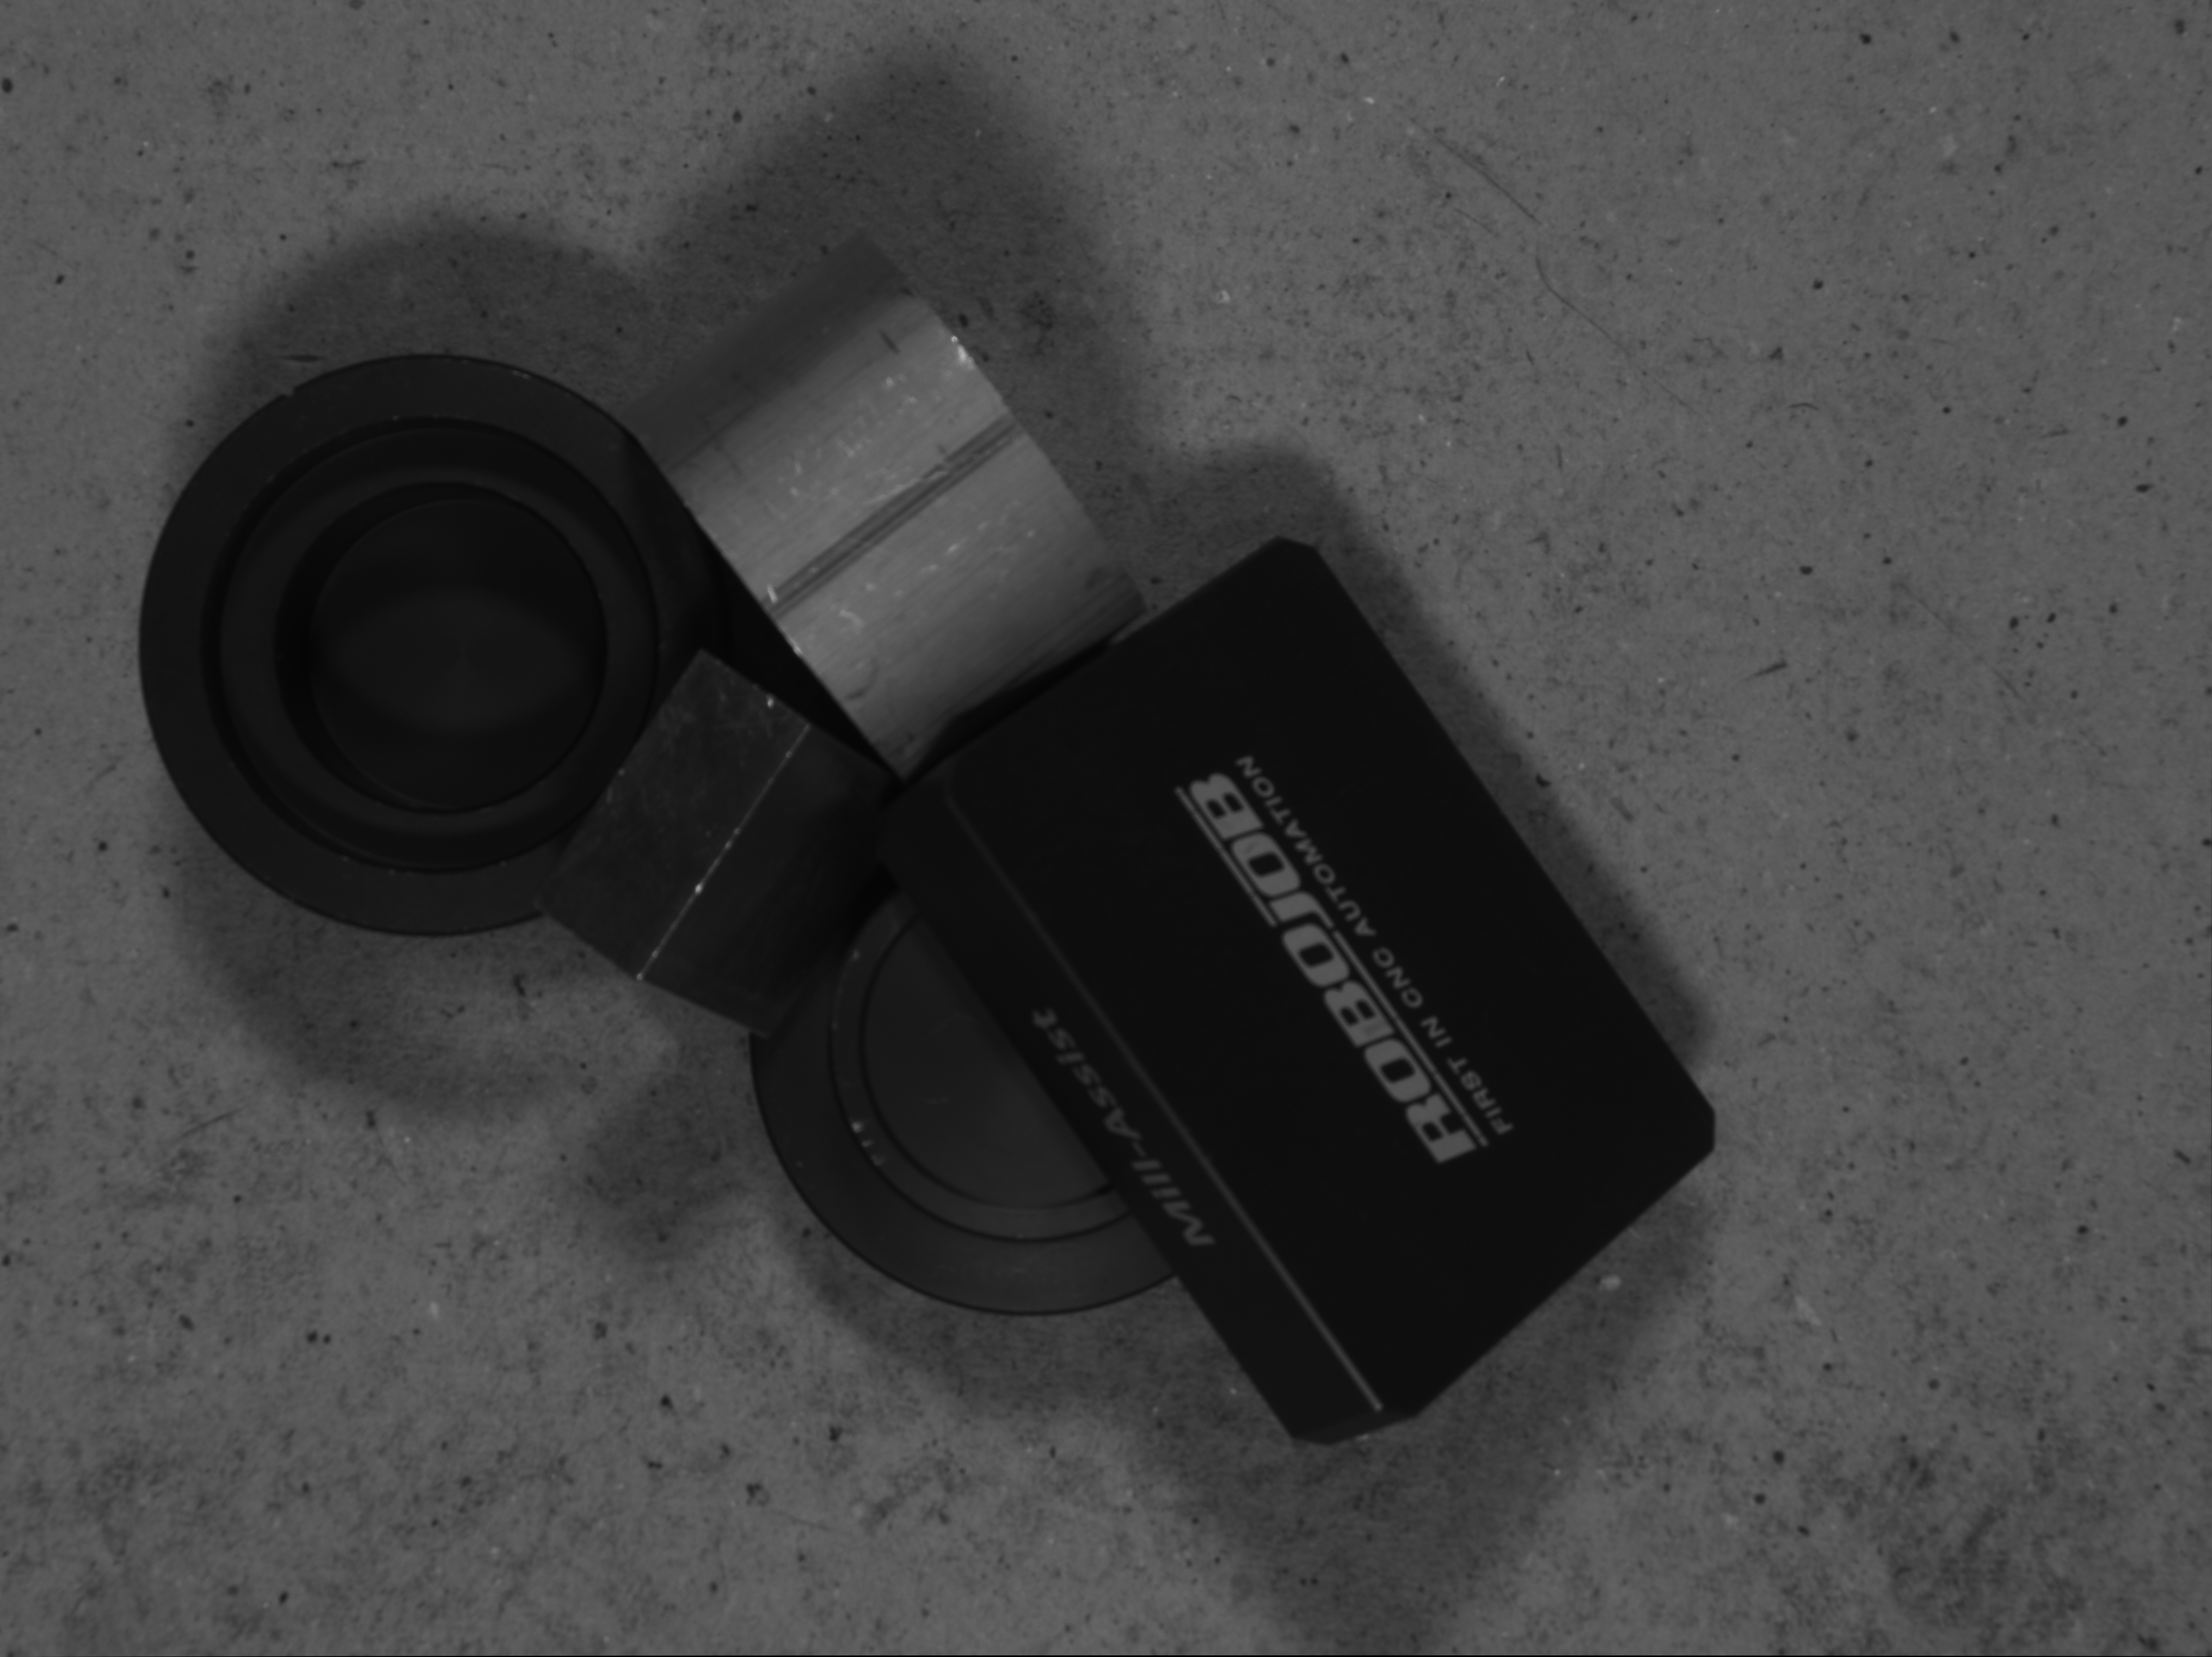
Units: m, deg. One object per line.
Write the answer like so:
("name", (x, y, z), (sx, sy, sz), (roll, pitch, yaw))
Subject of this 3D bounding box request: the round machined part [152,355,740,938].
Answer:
("round machined part", (-0.111, -0.031, 0.636), (0.098, 0.042, 0.098), (0, 90, 0))

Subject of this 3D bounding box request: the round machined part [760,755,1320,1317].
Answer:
("round machined part", (-0.011, 0.036, 0.636), (0.098, 0.042, 0.098), (0, 90, 0))

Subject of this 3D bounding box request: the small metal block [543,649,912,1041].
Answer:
("small metal block", (-0.060, 0.004, 0.614), (0.025, 0.050, 0.050), (33, 89, 24))

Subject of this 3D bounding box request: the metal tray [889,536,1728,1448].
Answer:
("metal tray", (0.036, 0.027, 0.621), (0.090, 0.030, 0.130), (-35, 90, -32))

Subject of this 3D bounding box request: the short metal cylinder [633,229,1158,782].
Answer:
("short metal cylinder", (-0.035, -0.054, 0.618), (0.050, 0.080, 0.080), (-38, 90, 0))
